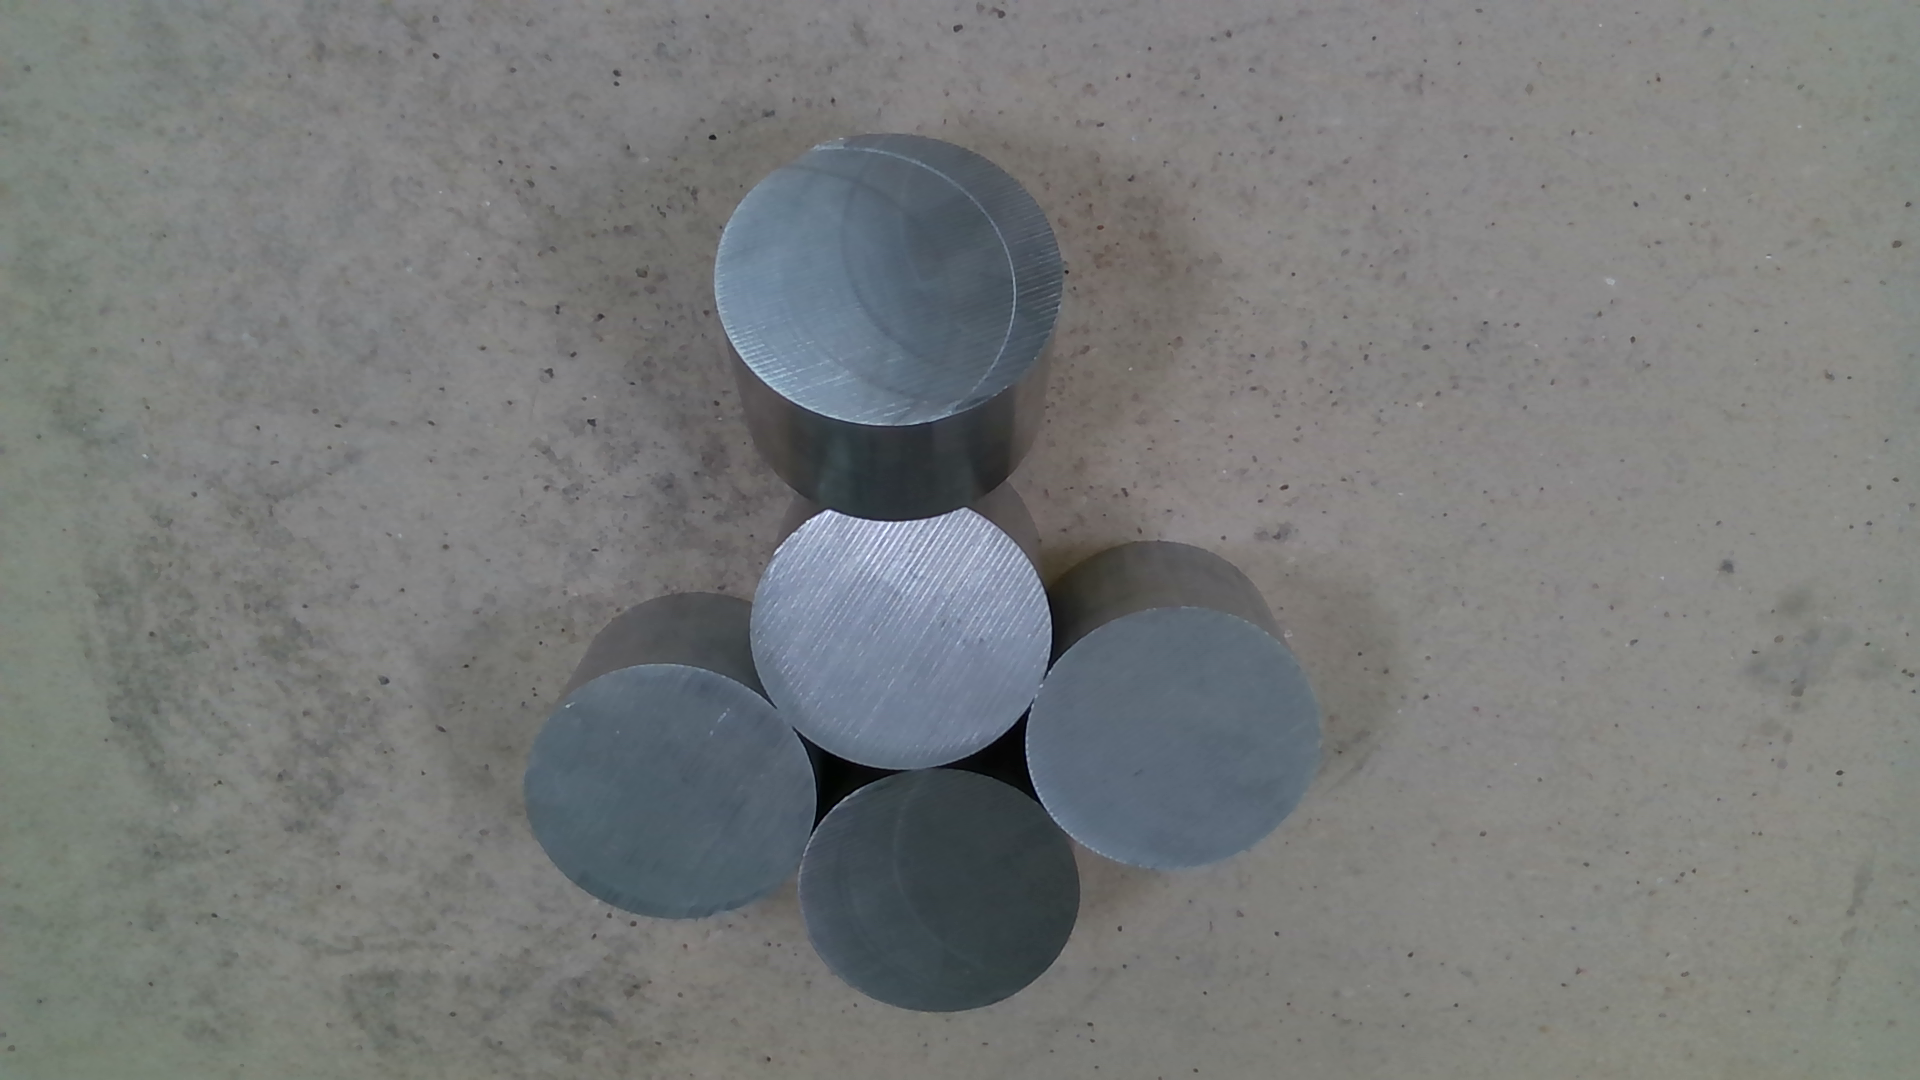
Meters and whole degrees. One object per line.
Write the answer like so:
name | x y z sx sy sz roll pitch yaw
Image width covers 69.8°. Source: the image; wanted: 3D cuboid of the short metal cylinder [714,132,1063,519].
short metal cylinder | -0.017 -0.052 0.340 0.080 0.050 0.080 1 66 -1

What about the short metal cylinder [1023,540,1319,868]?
short metal cylinder | 0.058 0.046 0.397 0.080 0.050 0.080 0 110 0

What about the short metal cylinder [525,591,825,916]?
short metal cylinder | -0.080 0.061 0.403 0.080 0.050 0.080 0 110 0

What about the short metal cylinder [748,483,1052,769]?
short metal cylinder | -0.016 0.017 0.387 0.080 0.050 0.080 0 110 0

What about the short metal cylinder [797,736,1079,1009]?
short metal cylinder | -0.006 0.092 0.414 0.080 0.050 0.080 0 110 0
